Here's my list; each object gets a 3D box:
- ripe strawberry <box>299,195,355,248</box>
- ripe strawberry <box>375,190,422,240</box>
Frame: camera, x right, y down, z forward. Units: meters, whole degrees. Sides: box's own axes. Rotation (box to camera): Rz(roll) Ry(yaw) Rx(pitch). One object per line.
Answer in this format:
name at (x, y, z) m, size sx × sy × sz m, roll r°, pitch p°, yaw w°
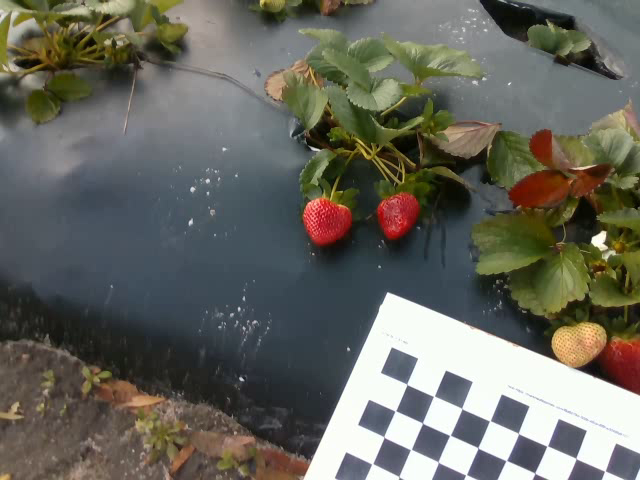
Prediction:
ripe strawberry at (0.004, -0.018, 0.551) m, size 0.050 × 0.045 × 0.061 m, roll 11°, pitch 44°, yaw 11°
ripe strawberry at (0.070, -0.025, 0.553) m, size 0.042 × 0.053 × 0.034 m, roll 6°, pitch -44°, yaw 10°
